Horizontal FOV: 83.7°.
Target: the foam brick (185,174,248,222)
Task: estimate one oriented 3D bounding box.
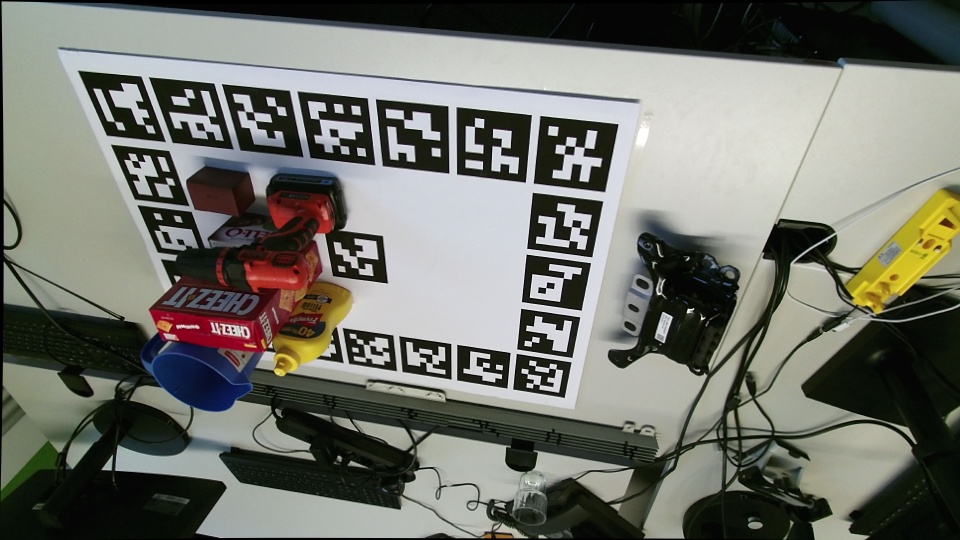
[{"bbox_3d":[-0.421,-0.116,0.853,0.078,0.051,0.053,9,124,5],"label":"foam brick"}]

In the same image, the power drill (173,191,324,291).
[{"bbox_3d":[-0.319,-0.043,0.759,0.185,0.186,0.057,6,129,8],"label":"power drill"}]

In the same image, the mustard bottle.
[{"bbox_3d":[-0.306,0.120,0.897,0.096,0.191,0.058,17,125,-1],"label":"mustard bottle"}]

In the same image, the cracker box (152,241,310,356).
[{"bbox_3d":[-0.389,0.031,0.843,0.165,0.213,0.072,4,127,6],"label":"cracker box"}]

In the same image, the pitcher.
[{"bbox_3d":[-0.439,0.111,0.903,0.189,0.241,0.133,11,126,1],"label":"pitcher"}]

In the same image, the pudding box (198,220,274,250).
[{"bbox_3d":[-0.371,-0.038,0.857,0.114,0.089,0.038,6,127,4],"label":"pudding box"}]
